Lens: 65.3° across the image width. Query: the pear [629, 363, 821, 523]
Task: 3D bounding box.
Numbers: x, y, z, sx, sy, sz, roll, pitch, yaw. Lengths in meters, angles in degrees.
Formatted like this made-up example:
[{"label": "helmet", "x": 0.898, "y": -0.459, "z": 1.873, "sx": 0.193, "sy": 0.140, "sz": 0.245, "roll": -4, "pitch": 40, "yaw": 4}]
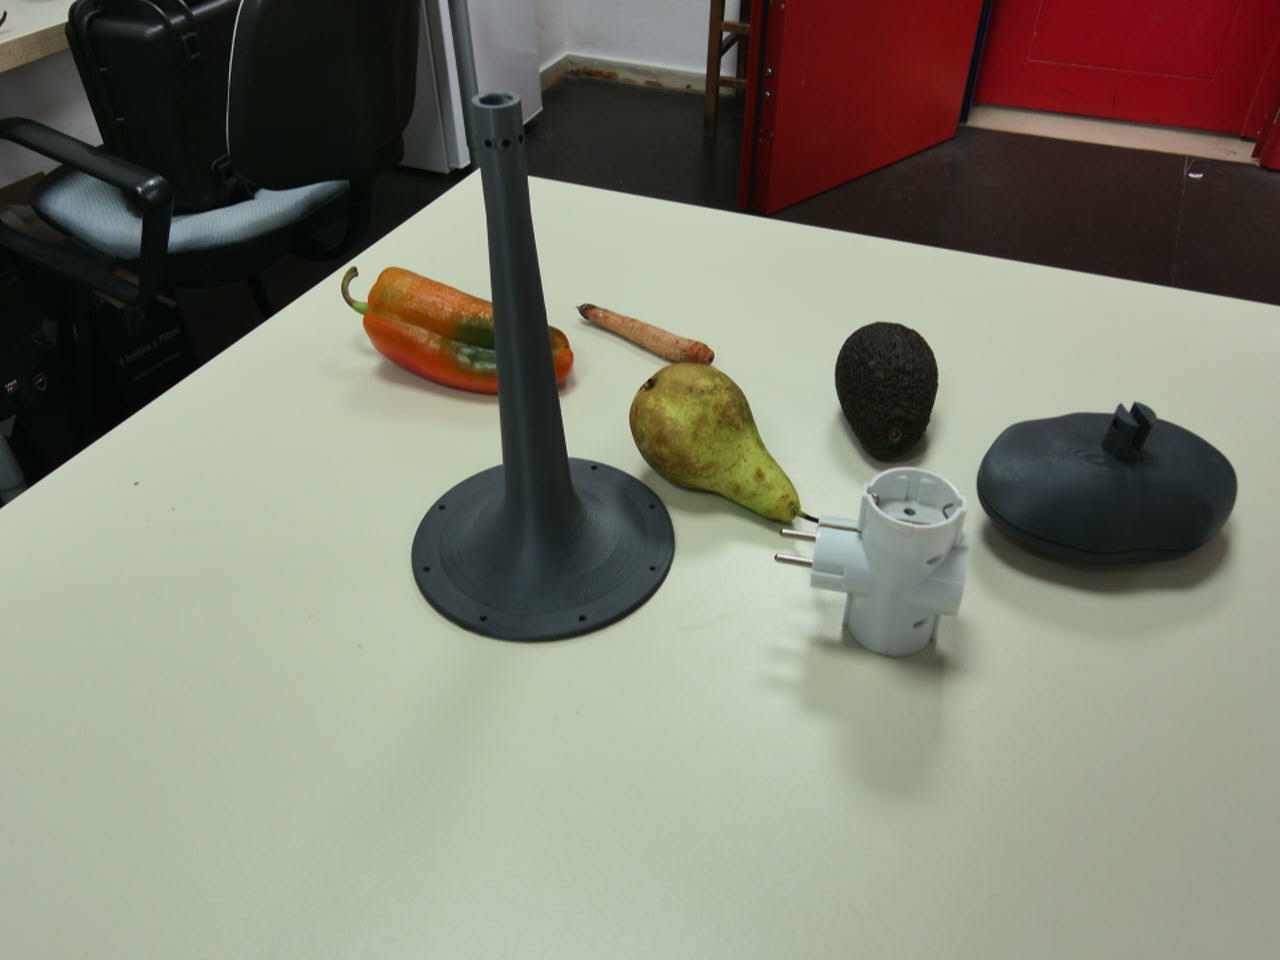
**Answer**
[{"label": "pear", "x": 0.060, "y": -0.022, "z": 0.590, "sx": 0.144, "sy": 0.075, "sz": 0.071, "roll": 21, "pitch": 43, "yaw": 25}]
